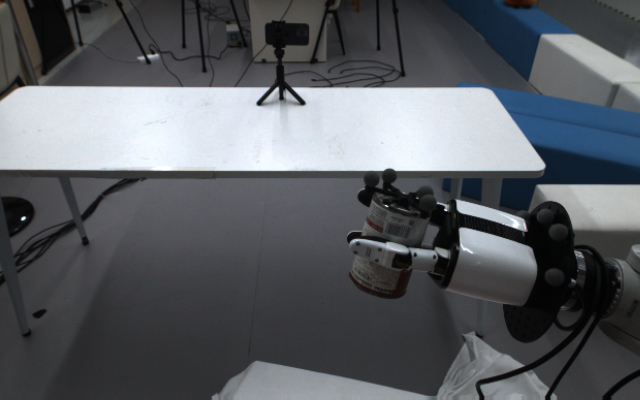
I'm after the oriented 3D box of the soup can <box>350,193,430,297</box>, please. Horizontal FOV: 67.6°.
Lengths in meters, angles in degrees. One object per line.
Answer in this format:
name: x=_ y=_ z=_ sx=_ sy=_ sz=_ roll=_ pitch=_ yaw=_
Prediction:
soup can: x=0.080 y=0.048 z=0.540 sx=0.067 sy=0.101 sz=0.067 roll=13 pitch=18 yaw=-4
